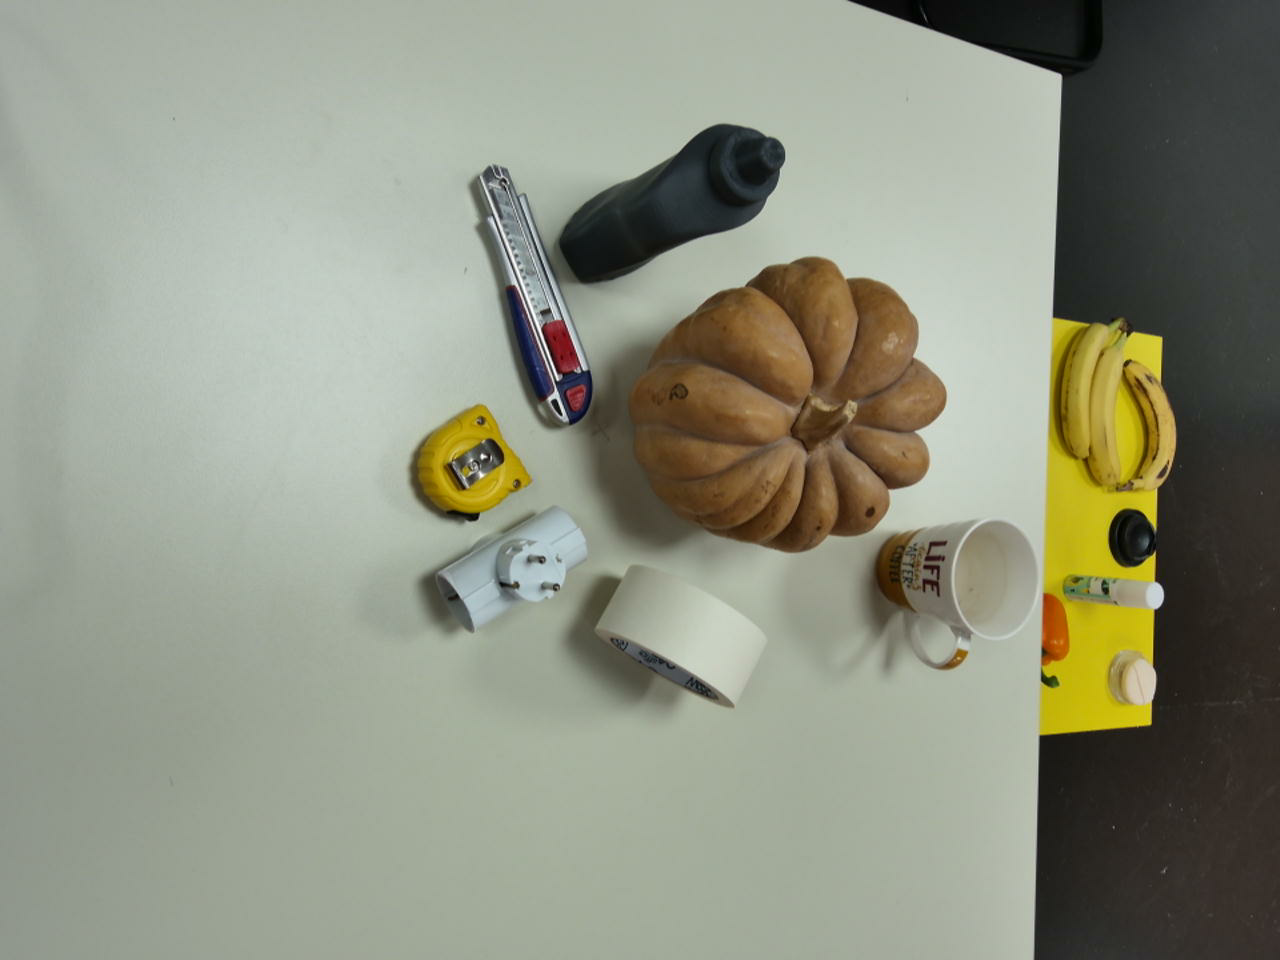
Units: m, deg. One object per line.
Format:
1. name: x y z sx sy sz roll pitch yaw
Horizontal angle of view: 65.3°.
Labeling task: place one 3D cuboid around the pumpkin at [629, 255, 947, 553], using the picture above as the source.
1. pumpkin: 0.090 -0.046 0.663 0.198 0.177 0.198 0 90 -28
